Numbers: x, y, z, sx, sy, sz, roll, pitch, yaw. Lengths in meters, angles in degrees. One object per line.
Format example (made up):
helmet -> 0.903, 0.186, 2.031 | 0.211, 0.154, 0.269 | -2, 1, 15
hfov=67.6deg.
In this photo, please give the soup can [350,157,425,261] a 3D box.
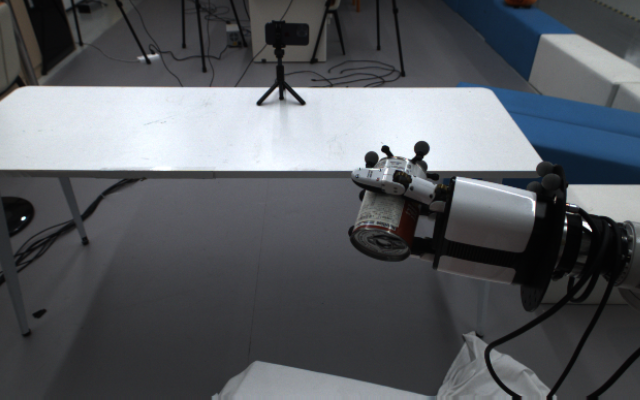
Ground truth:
soup can -> 0.081, 0.007, 0.552 | 0.067, 0.067, 0.101 | 12, 59, 14
